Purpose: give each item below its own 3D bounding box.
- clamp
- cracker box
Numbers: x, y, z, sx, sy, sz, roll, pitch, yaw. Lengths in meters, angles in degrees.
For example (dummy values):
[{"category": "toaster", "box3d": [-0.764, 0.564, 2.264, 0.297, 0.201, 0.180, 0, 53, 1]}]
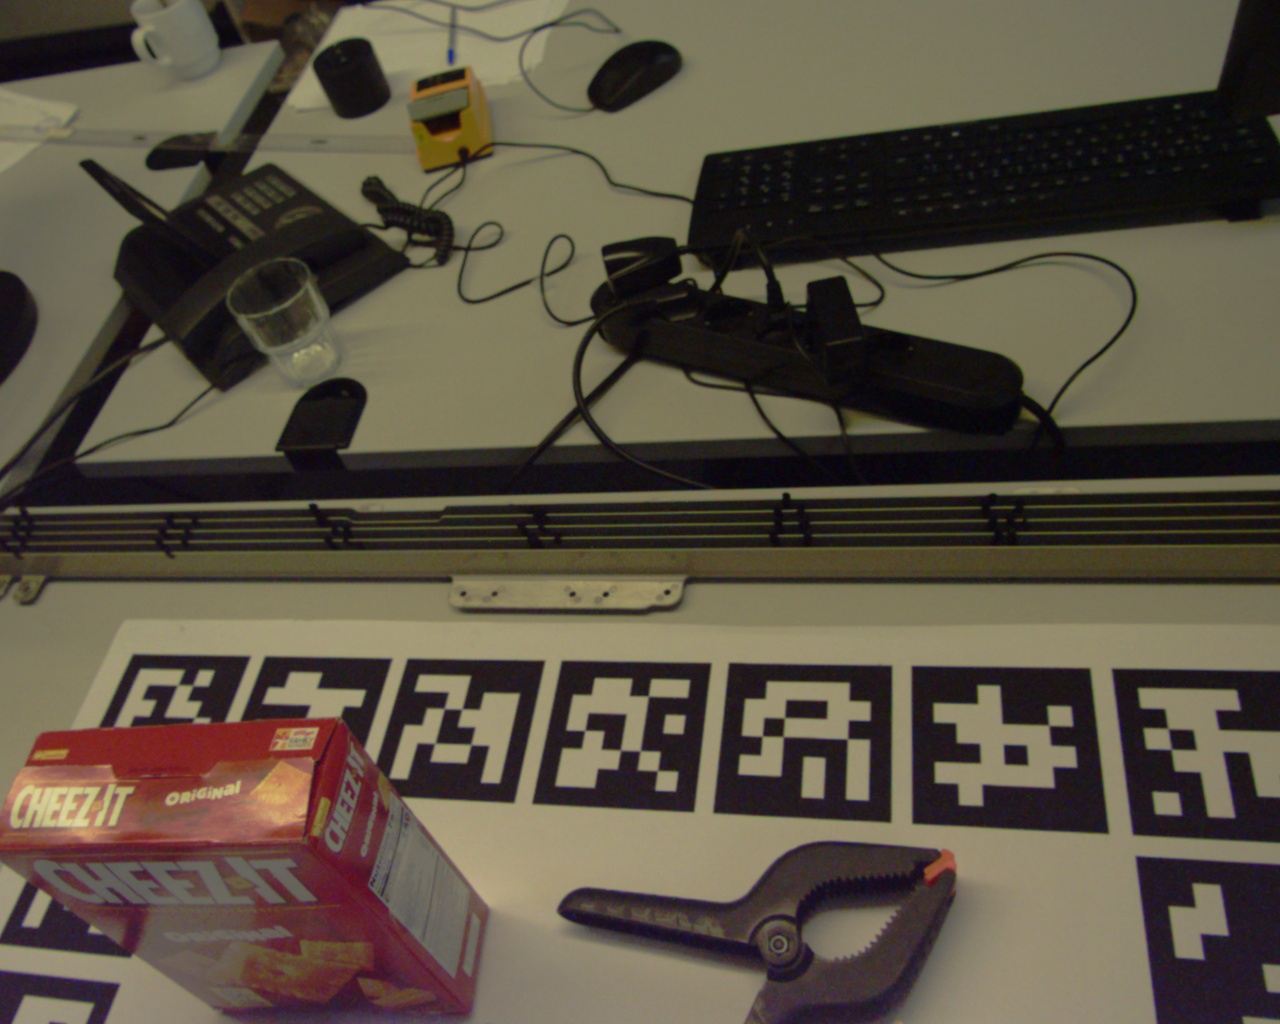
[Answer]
[{"category": "clamp", "box3d": [0.058, 0.236, 0.607, 0.202, 0.036, 0.167, -25, 50, -3]}, {"category": "cracker box", "box3d": [-0.195, 0.186, 0.606, 0.165, 0.212, 0.072, -3, 51, 13]}]
